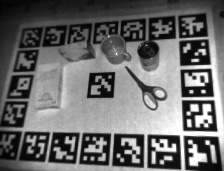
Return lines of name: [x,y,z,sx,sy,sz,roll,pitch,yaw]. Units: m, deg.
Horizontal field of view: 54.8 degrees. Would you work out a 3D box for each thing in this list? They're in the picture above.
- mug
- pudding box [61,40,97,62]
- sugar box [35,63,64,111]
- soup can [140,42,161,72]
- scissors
mug: [0.025,-0.129,0.786,0.093,0.082,0.116,-36,67,3]
pudding box: [-0.122,-0.127,0.810,0.113,0.090,0.038,-11,77,10]
sugar box: [-0.238,0.006,0.828,0.092,0.046,0.176,-4,74,14]
soup can: [0.134,-0.095,0.748,0.067,0.103,0.067,-4,71,13]
scissors: [0.115,0.007,0.757,0.087,0.016,0.201,-44,70,7]
